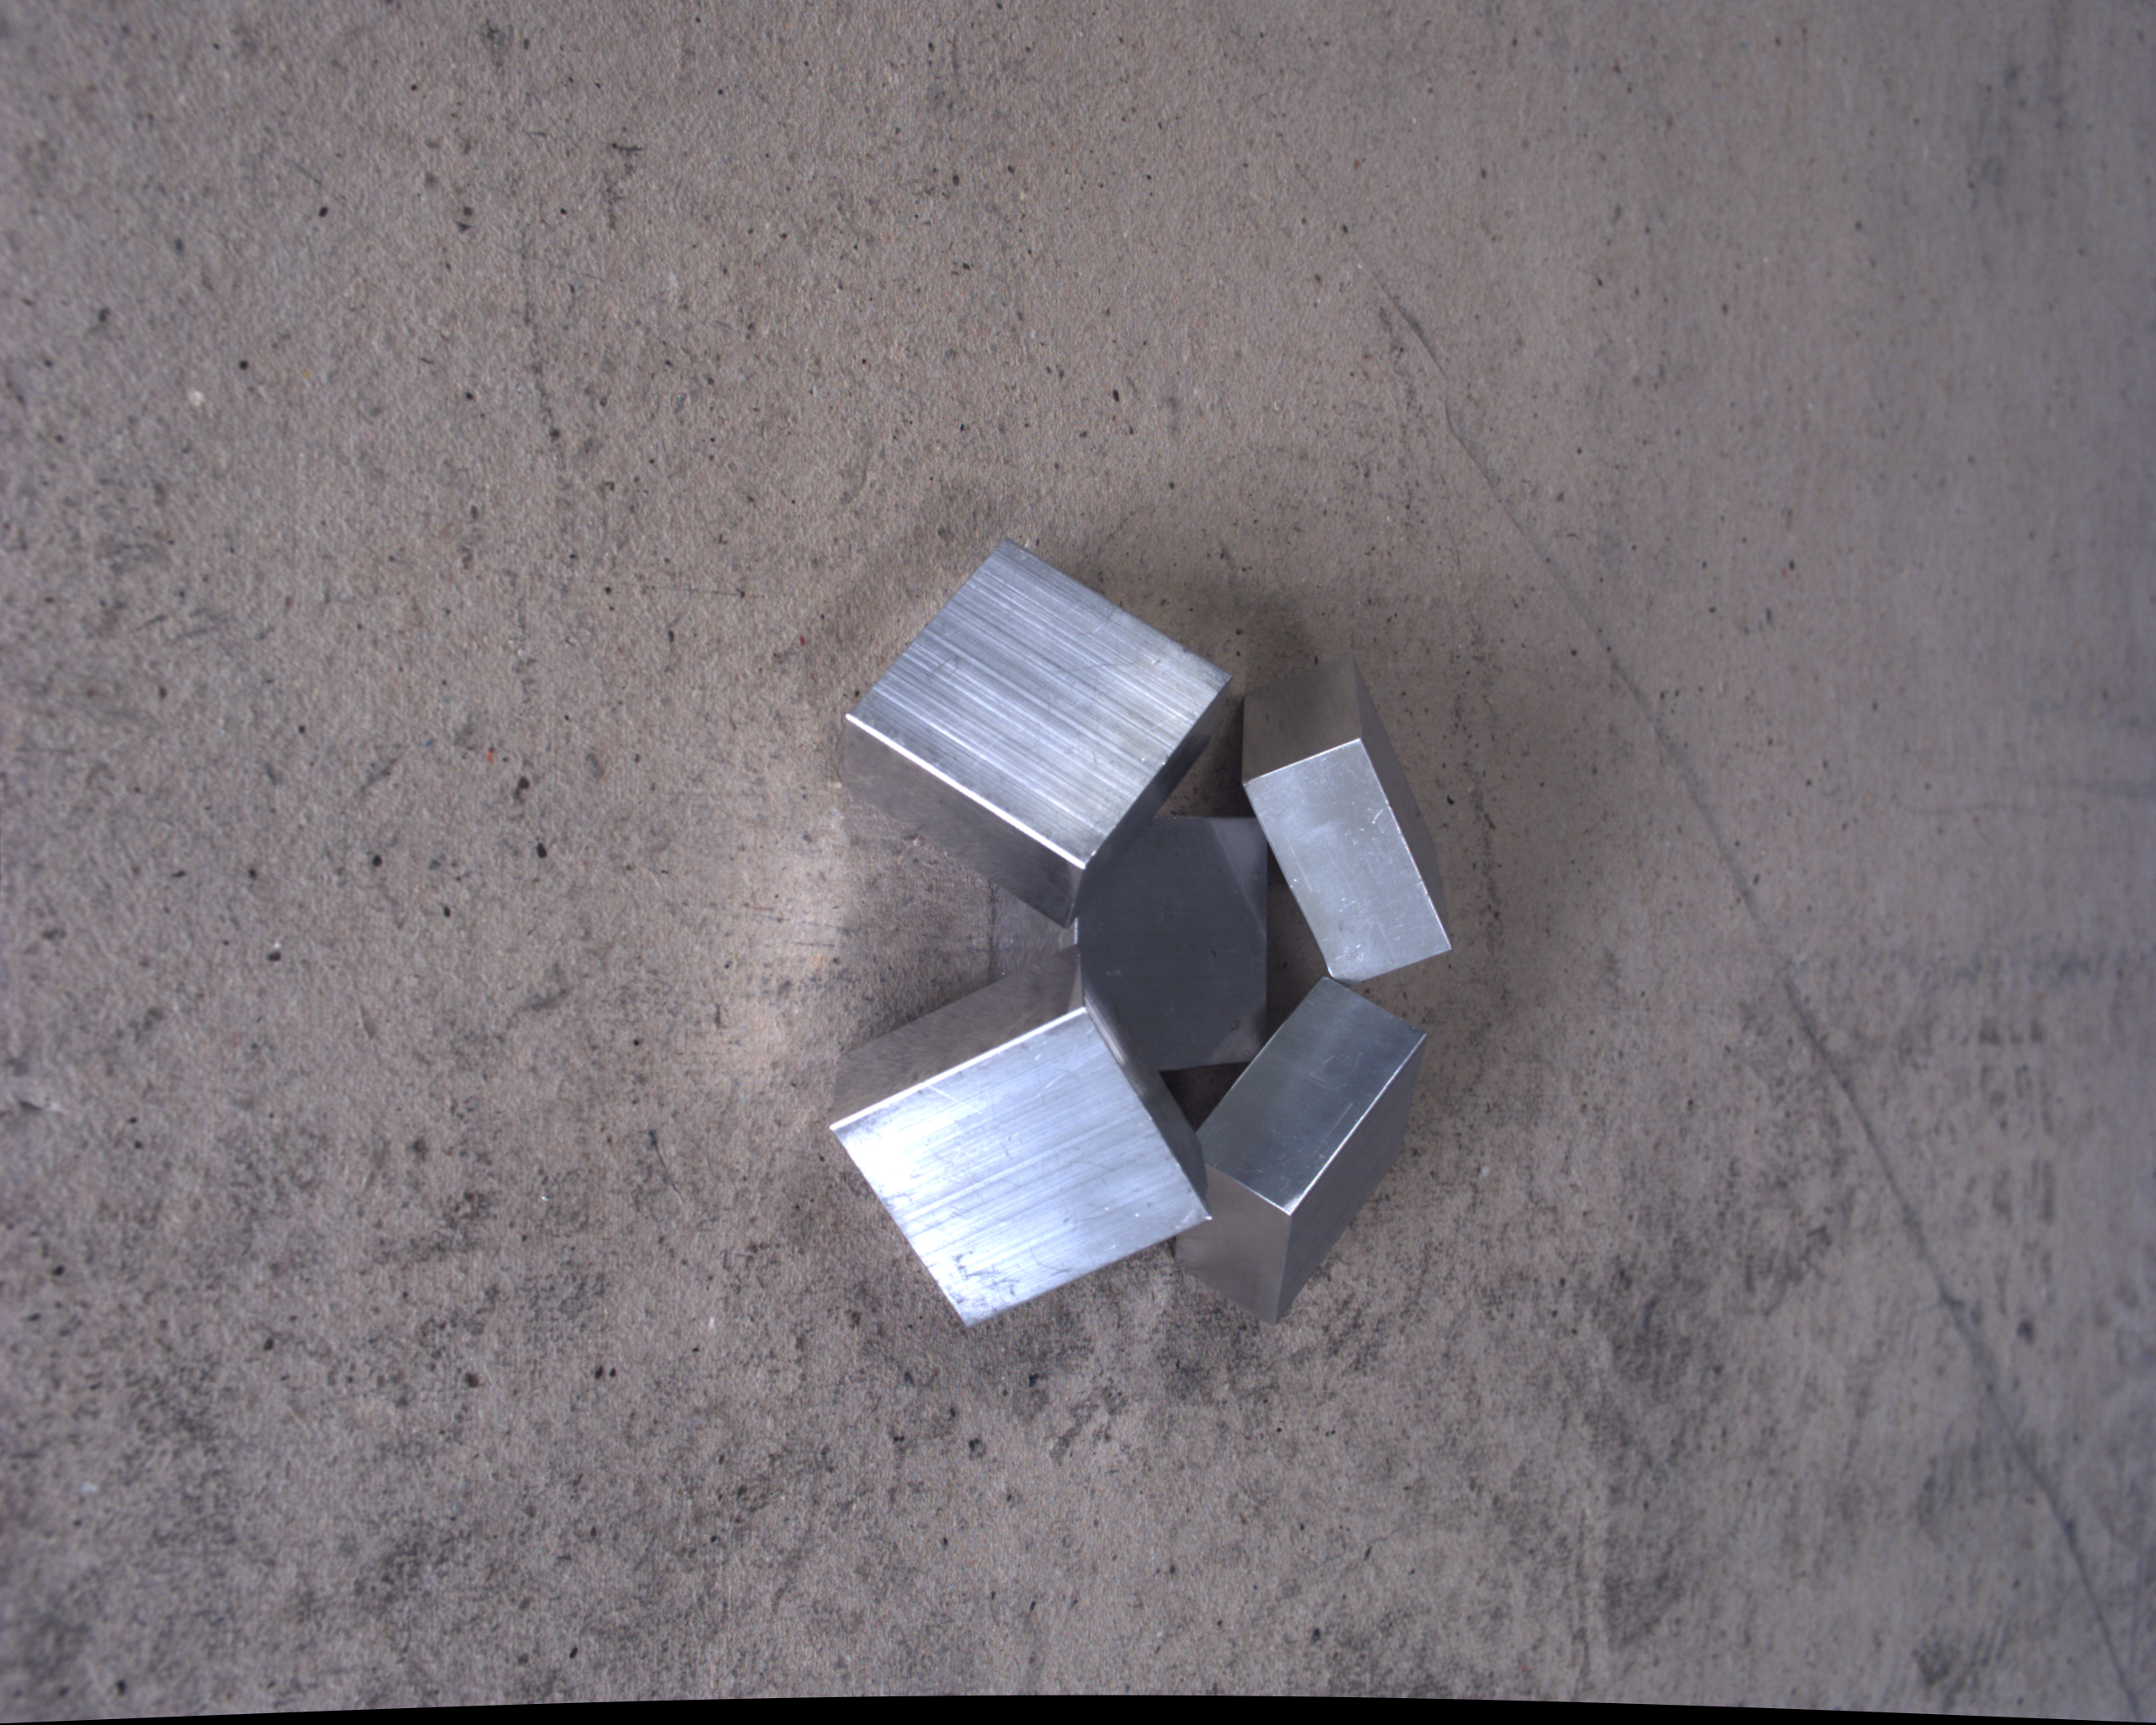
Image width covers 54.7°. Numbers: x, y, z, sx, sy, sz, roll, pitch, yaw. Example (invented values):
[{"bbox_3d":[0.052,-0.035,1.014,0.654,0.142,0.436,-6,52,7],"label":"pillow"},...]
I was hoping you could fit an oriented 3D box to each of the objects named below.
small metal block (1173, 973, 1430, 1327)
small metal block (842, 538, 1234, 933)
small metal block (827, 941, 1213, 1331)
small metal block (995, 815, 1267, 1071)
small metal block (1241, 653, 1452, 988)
[{"bbox_3d":[0.045,0.059,0.428,0.050,0.025,0.050,-47,156,-29],"label":"small metal block"},{"bbox_3d":[-0.008,-0.024,0.383,0.050,0.025,0.050,33,62,9],"label":"small metal block"},{"bbox_3d":[-0.010,0.050,0.380,0.050,0.025,0.050,-26,113,9],"label":"small metal block"},{"bbox_3d":[0.011,0.015,0.415,0.050,0.025,0.050,-1,91,-41],"label":"small metal block"},{"bbox_3d":[0.055,-0.009,0.436,0.050,0.025,0.050,-81,148,-65],"label":"small metal block"}]
